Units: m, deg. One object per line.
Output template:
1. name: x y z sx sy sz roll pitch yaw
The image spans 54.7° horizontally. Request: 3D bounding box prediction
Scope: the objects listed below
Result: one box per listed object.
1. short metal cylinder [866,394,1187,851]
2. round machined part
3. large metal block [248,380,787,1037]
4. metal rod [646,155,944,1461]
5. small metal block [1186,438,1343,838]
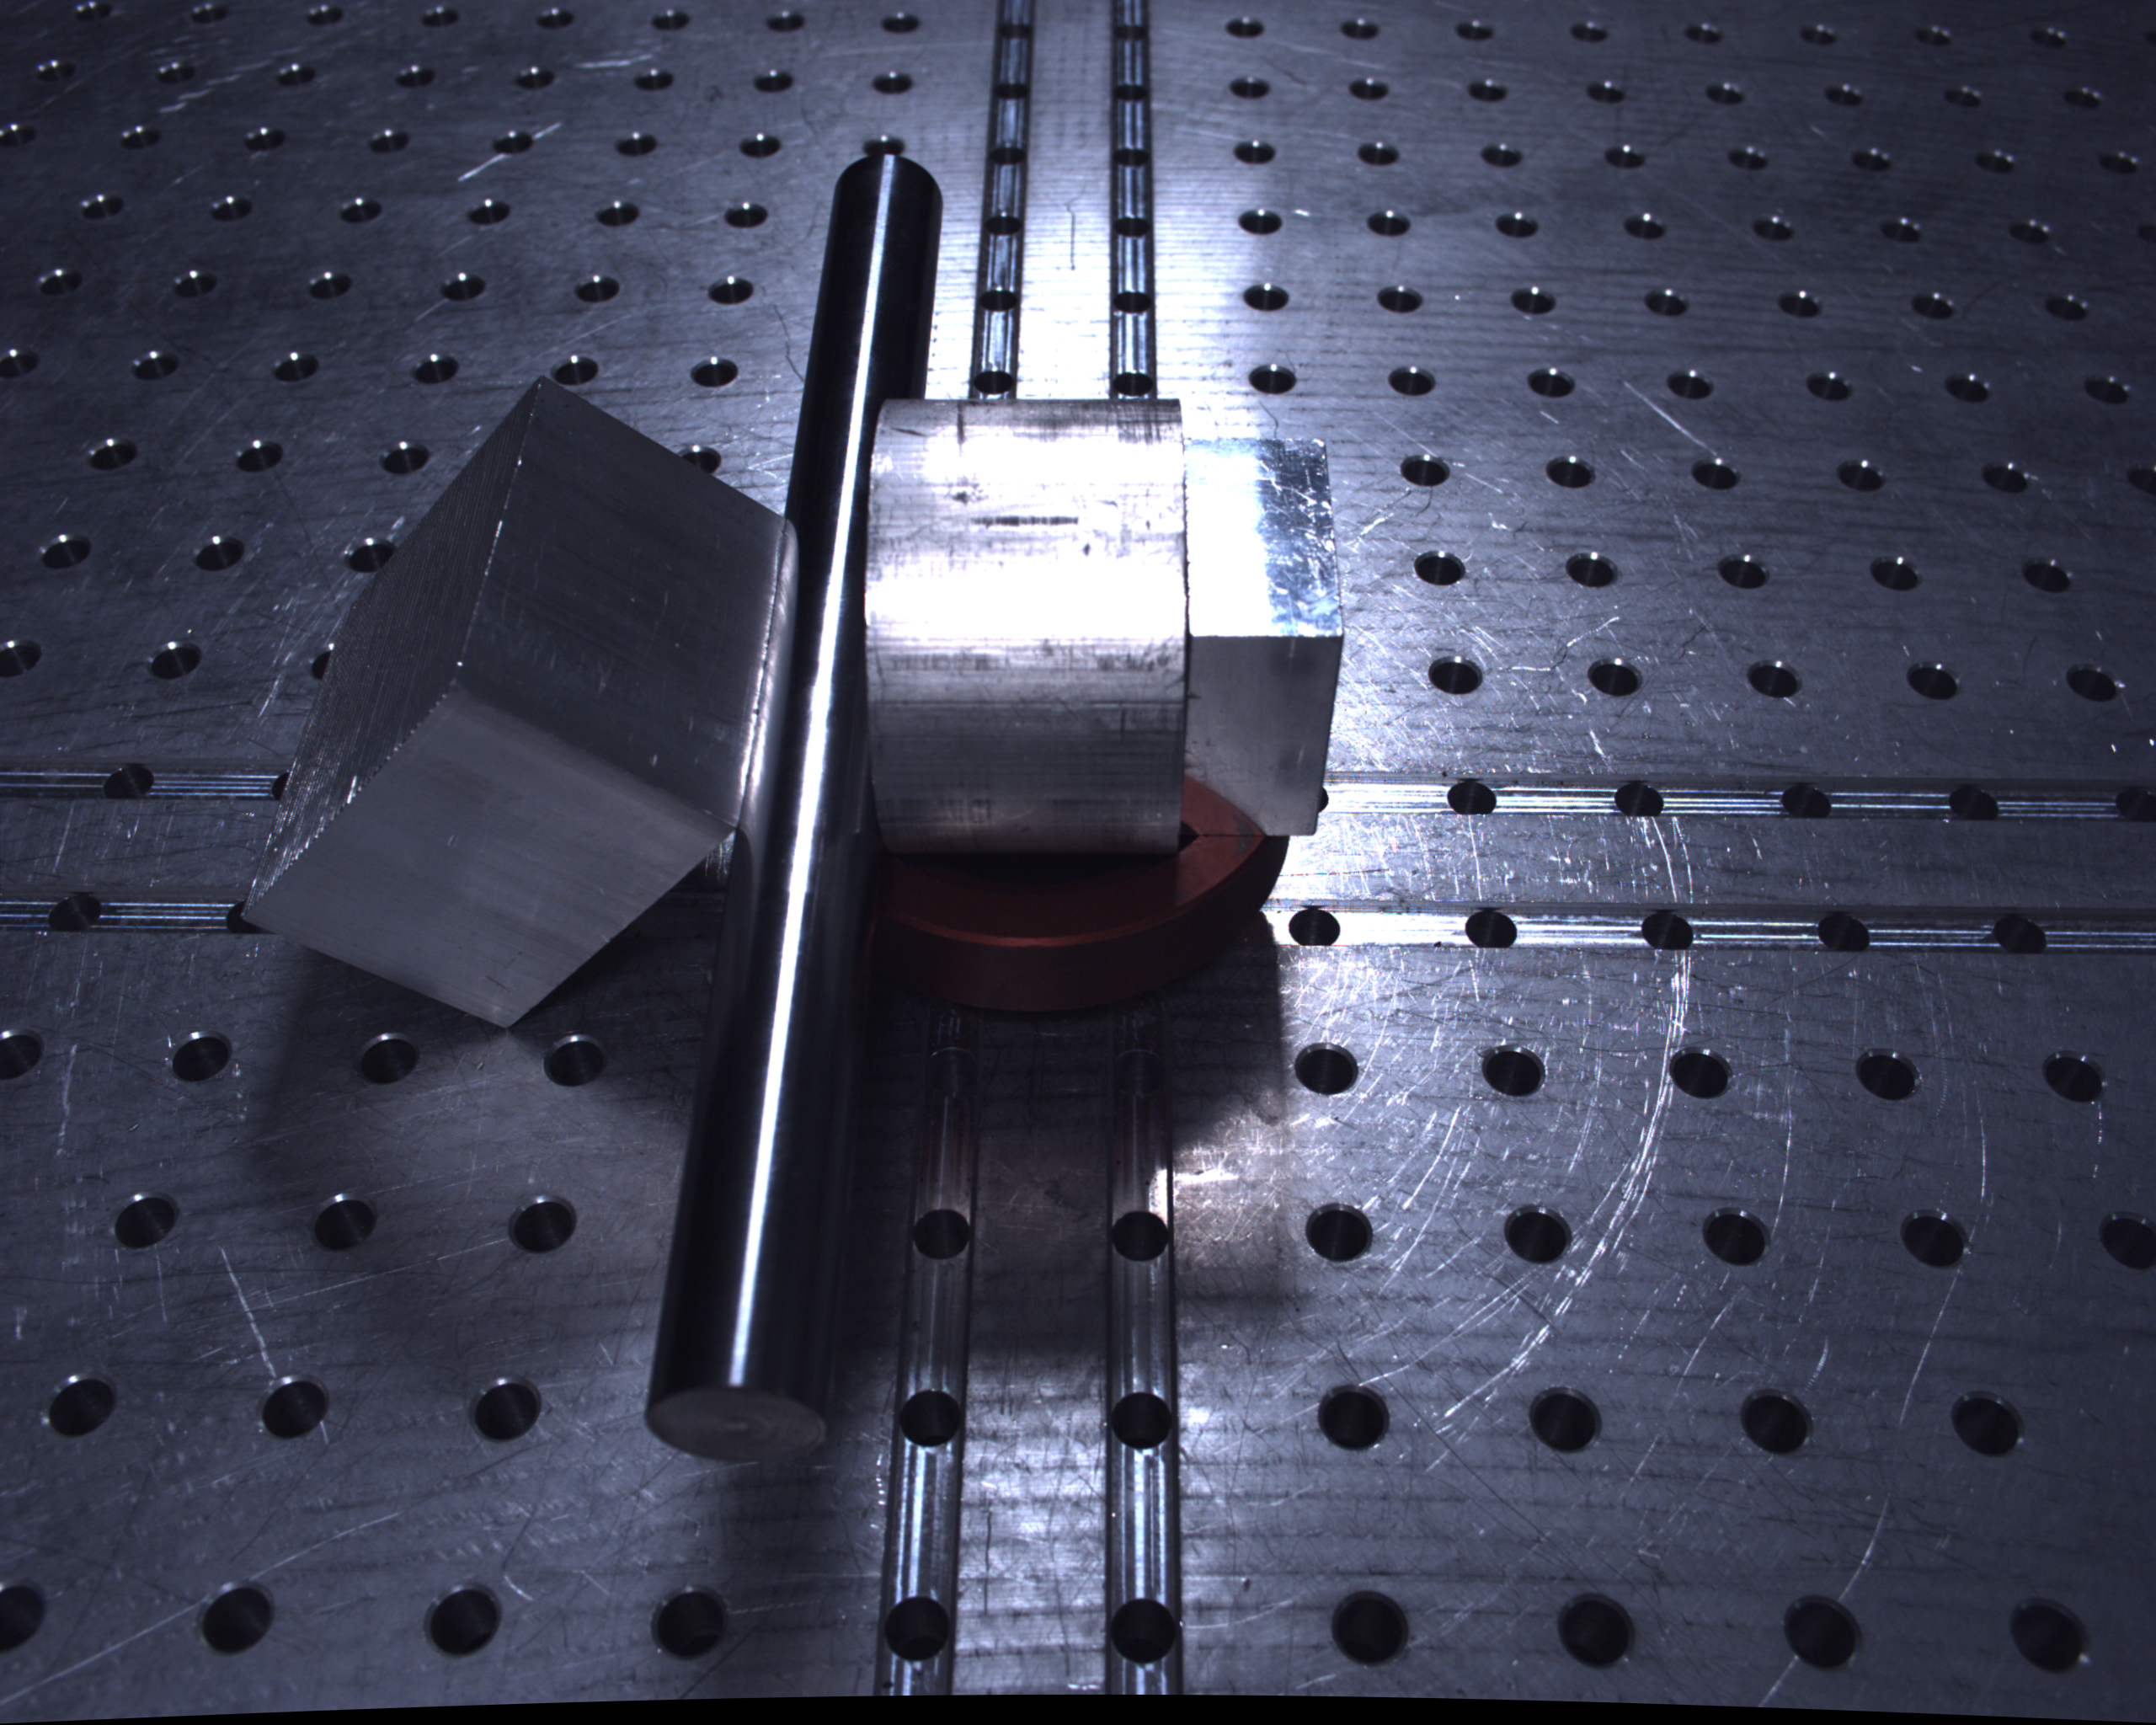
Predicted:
1. short metal cylinder: -0.008 -0.042 0.368 0.050 0.080 0.080 1 50 0
2. round machined part: -0.008 -0.011 0.404 0.099 0.042 0.098 0 50 0
3. large metal block: -0.102 -0.027 0.386 0.050 0.080 0.080 30 42 -30
4. metal rod: -0.045 -0.037 0.384 0.025 0.025 0.300 1 50 0
5. small metal block: 0.030 -0.040 0.370 0.025 0.050 0.050 1 50 0
